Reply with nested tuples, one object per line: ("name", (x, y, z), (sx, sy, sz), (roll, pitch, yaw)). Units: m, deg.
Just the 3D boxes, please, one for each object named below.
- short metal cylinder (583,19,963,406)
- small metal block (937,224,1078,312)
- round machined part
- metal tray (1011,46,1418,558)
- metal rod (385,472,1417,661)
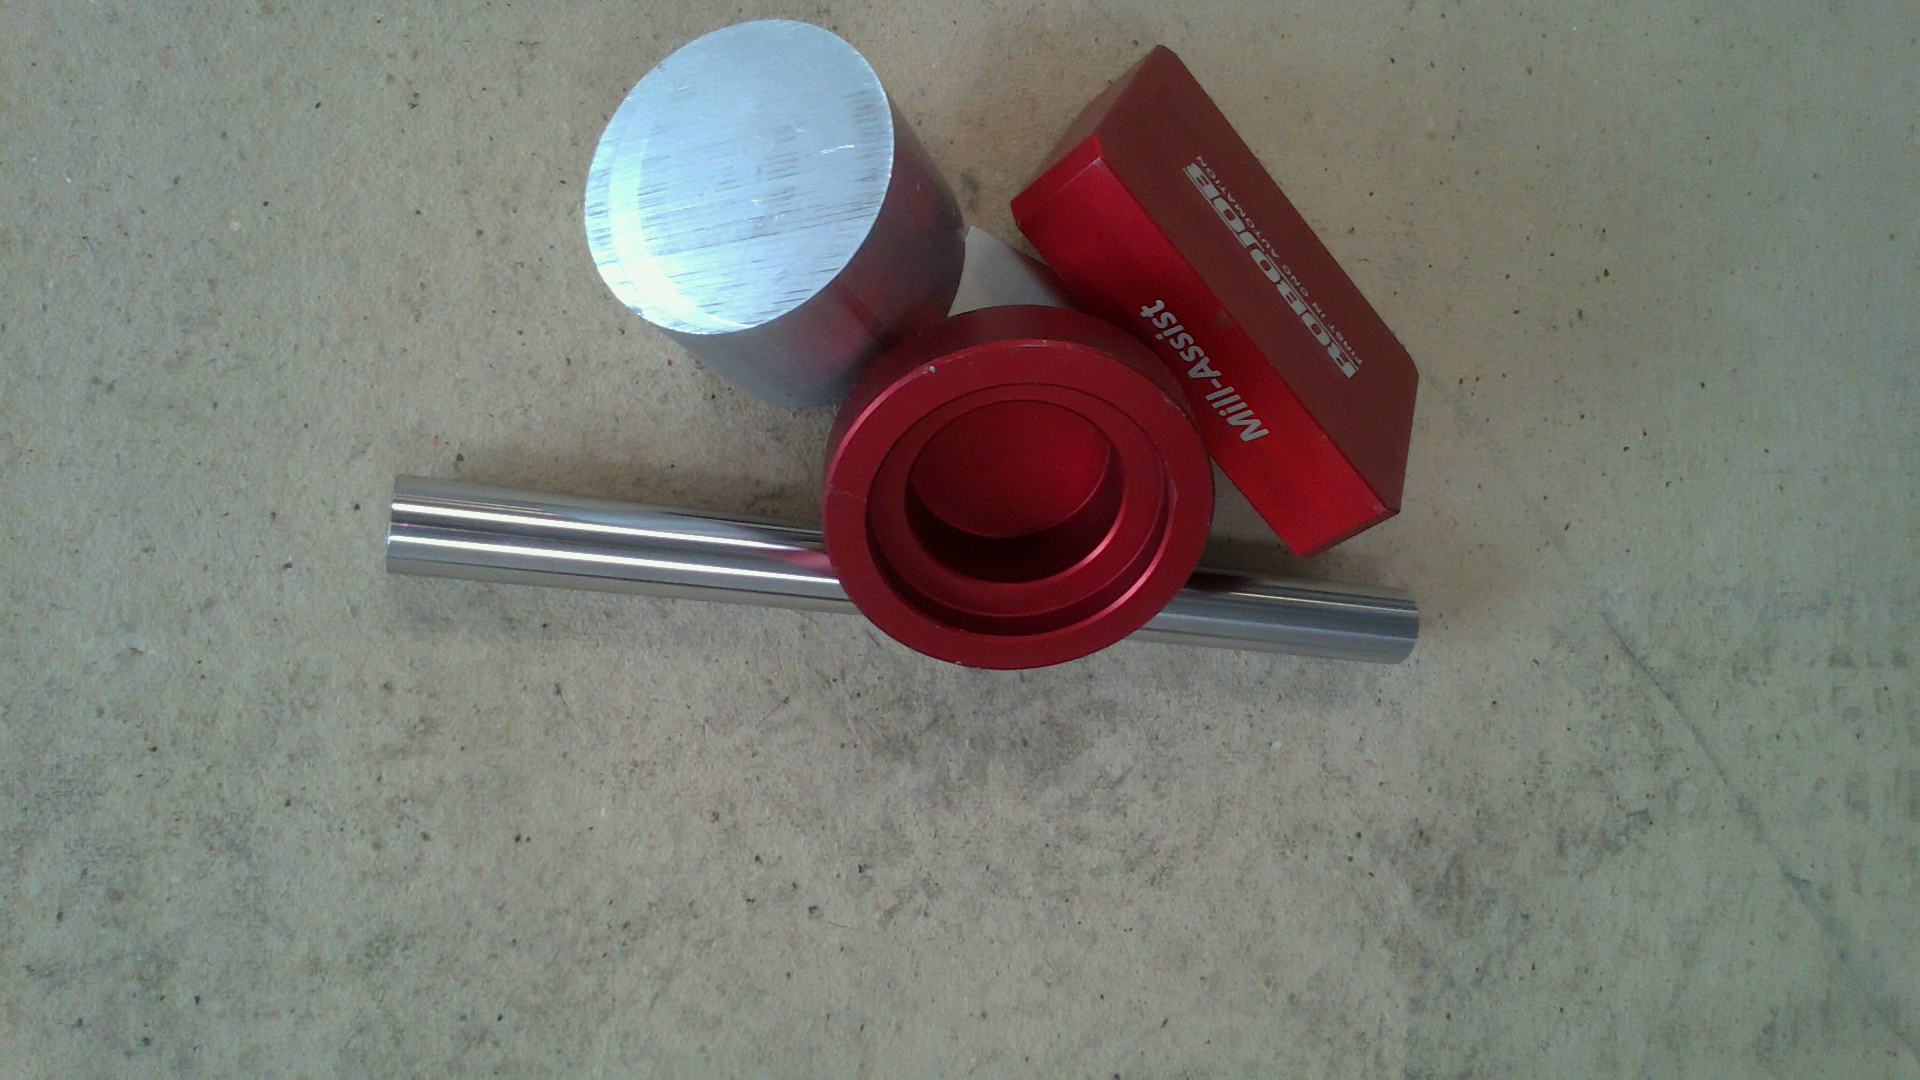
("short metal cylinder", (-0.045, -0.080, 0.343), (0.080, 0.050, 0.080), (-5, 74, 18))
("small metal block", (0.012, -0.060, 0.383), (0.050, 0.050, 0.025), (25, 82, -18))
("round machined part", (0.013, -0.017, 0.357), (0.098, 0.042, 0.098), (-3, 124, -4))
("metal tray", (0.078, -0.069, 0.392), (0.130, 0.030, 0.090), (47, 37, -14))
("metal rod", (-0.001, 0.011, 0.393), (0.301, 0.025, 0.025), (6, 88, -20))
